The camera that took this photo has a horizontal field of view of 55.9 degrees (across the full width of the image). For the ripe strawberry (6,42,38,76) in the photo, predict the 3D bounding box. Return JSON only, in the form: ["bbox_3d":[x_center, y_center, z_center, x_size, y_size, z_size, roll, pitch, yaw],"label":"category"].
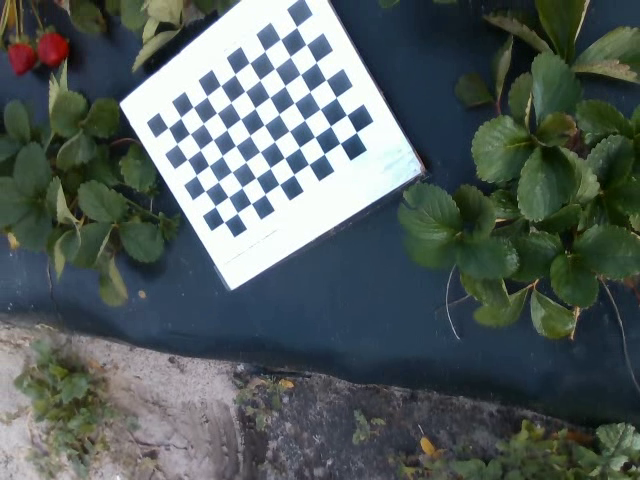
[{"bbox_3d":[-0.474,-0.274,0.952,0.048,0.056,0.041,-16,-20,20],"label":"ripe strawberry"}]

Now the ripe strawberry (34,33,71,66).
[{"bbox_3d":[-0.418,-0.281,0.925,0.051,0.058,0.064,20,24,-46],"label":"ripe strawberry"}]
